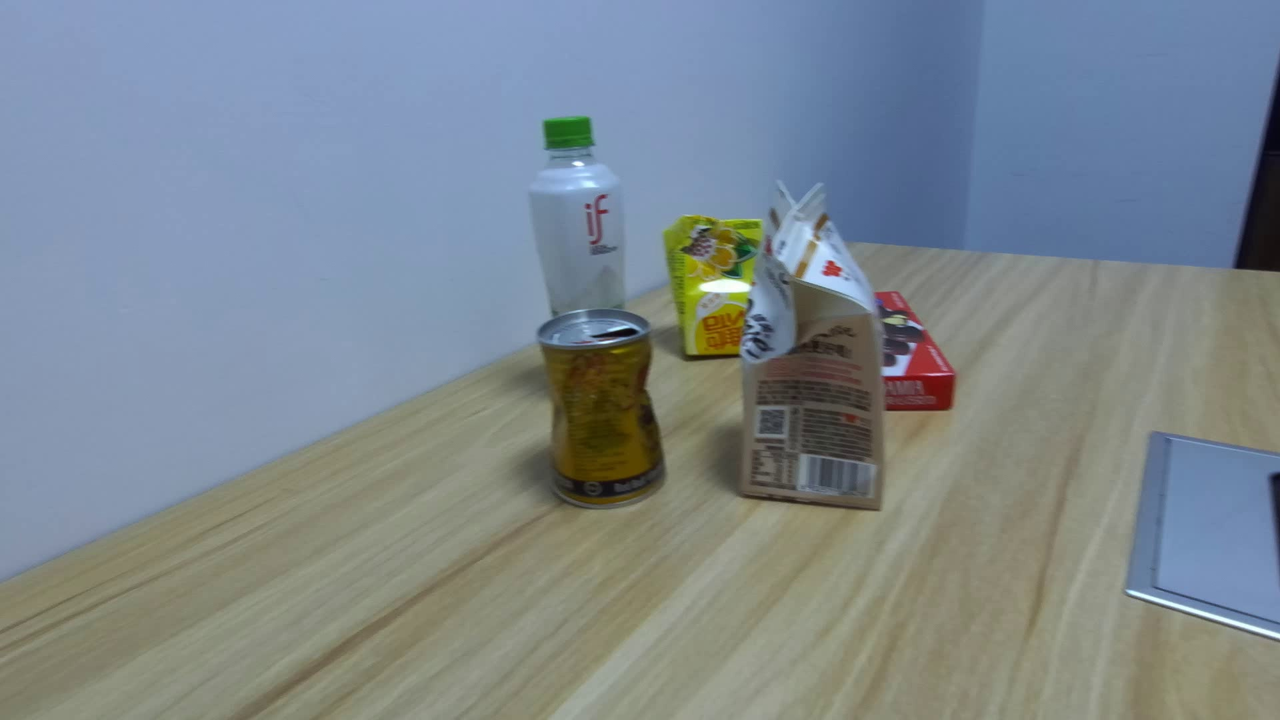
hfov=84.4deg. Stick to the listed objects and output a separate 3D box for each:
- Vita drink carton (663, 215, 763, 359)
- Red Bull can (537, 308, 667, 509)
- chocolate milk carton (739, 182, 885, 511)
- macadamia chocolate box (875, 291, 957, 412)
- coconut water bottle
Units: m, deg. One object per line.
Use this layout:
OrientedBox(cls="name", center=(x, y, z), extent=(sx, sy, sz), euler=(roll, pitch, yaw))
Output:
OrientedBox(cls="Vita drink carton", center=(0.064, -0.060, 0.567), extent=(0.087, 0.108, 0.042), euler=(-2, 9, 2))
OrientedBox(cls="Red Bull can", center=(-0.021, 0.025, 0.386), extent=(0.072, 0.092, 0.072), euler=(-4, 21, 2))
OrientedBox(cls="chocolate milk carton", center=(0.090, -0.011, 0.364), extent=(0.073, 0.156, 0.076), euler=(1, 23, 20))
OrientedBox(cls="macadamia chocolate box", center=(0.163, -0.012, 0.529), extent=(0.095, 0.027, 0.178), euler=(-2, 22, 10))
OrientedBox(cls="coconut water bottle", center=(-0.038, -0.064, 0.479), extent=(0.063, 0.189, 0.063), euler=(-4, 21, 2))
